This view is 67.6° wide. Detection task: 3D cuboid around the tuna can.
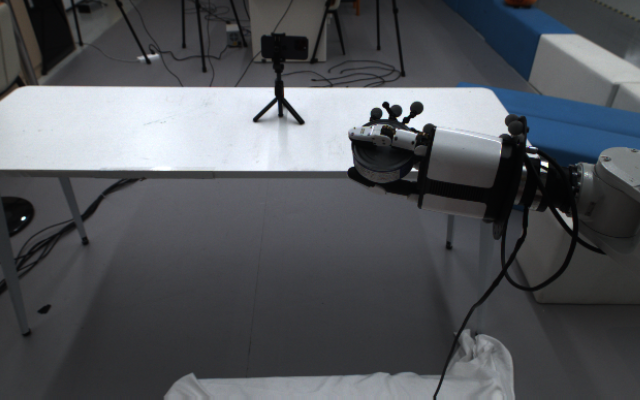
[{"bbox_3d":[0.086,-0.069,0.651,0.085,0.034,0.085,-4,56,6],"label":"tuna can"}]
